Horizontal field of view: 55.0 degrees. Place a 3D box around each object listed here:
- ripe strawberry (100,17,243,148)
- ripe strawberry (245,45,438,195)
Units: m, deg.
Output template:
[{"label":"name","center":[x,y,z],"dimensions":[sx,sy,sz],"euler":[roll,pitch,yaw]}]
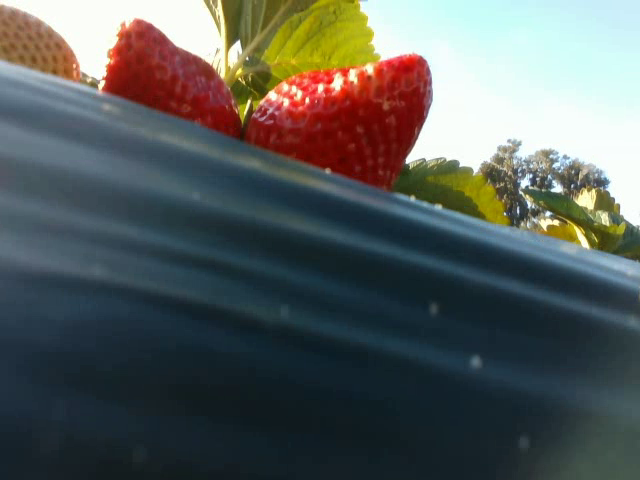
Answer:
[{"label":"ripe strawberry","center":[-0.044,-0.039,0.166],"dimensions":[0.050,0.044,0.061],"euler":[27,-18,13]},{"label":"ripe strawberry","center":[0.010,-0.031,0.172],"dimensions":[0.067,0.052,0.056],"euler":[-32,-9,39]}]
